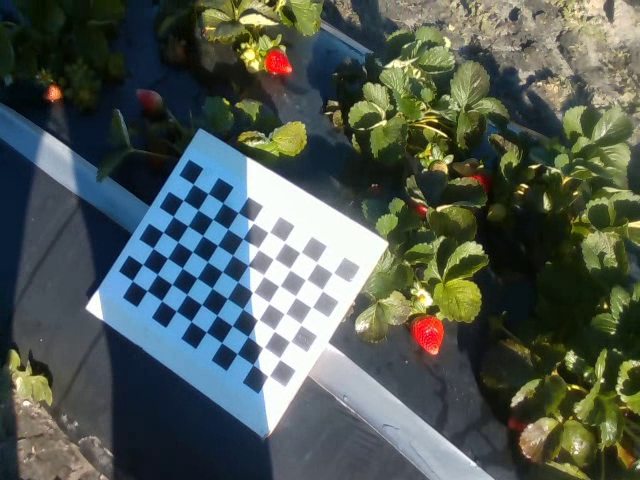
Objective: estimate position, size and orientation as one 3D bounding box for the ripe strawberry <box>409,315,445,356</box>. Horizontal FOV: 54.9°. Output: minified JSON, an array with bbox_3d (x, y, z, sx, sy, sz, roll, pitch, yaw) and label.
[{"bbox_3d":[0.136,0.121,0.767,0.048,0.055,0.029,-15,-12,8],"label":"ripe strawberry"}]

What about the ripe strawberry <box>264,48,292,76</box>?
[{"bbox_3d":[-0.070,-0.301,1.052,0.064,0.050,0.052,39,0,24],"label":"ripe strawberry"}]
